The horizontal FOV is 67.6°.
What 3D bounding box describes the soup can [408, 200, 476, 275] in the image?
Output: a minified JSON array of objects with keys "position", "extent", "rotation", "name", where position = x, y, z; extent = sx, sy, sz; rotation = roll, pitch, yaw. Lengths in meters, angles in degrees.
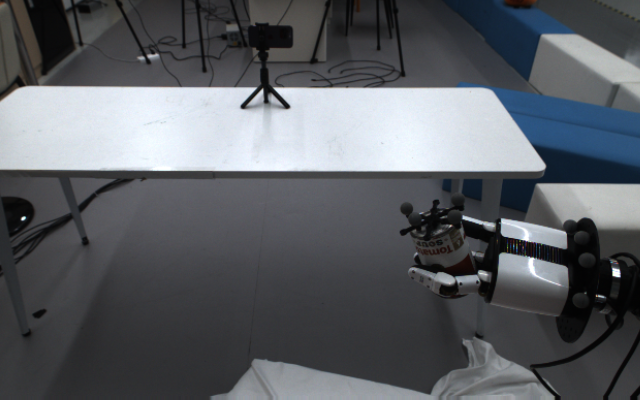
[{"position":[0.167,0.069,0.641],"extent":[0.067,0.101,0.067],"rotation":[-21,24,10],"name":"soup can"}]
